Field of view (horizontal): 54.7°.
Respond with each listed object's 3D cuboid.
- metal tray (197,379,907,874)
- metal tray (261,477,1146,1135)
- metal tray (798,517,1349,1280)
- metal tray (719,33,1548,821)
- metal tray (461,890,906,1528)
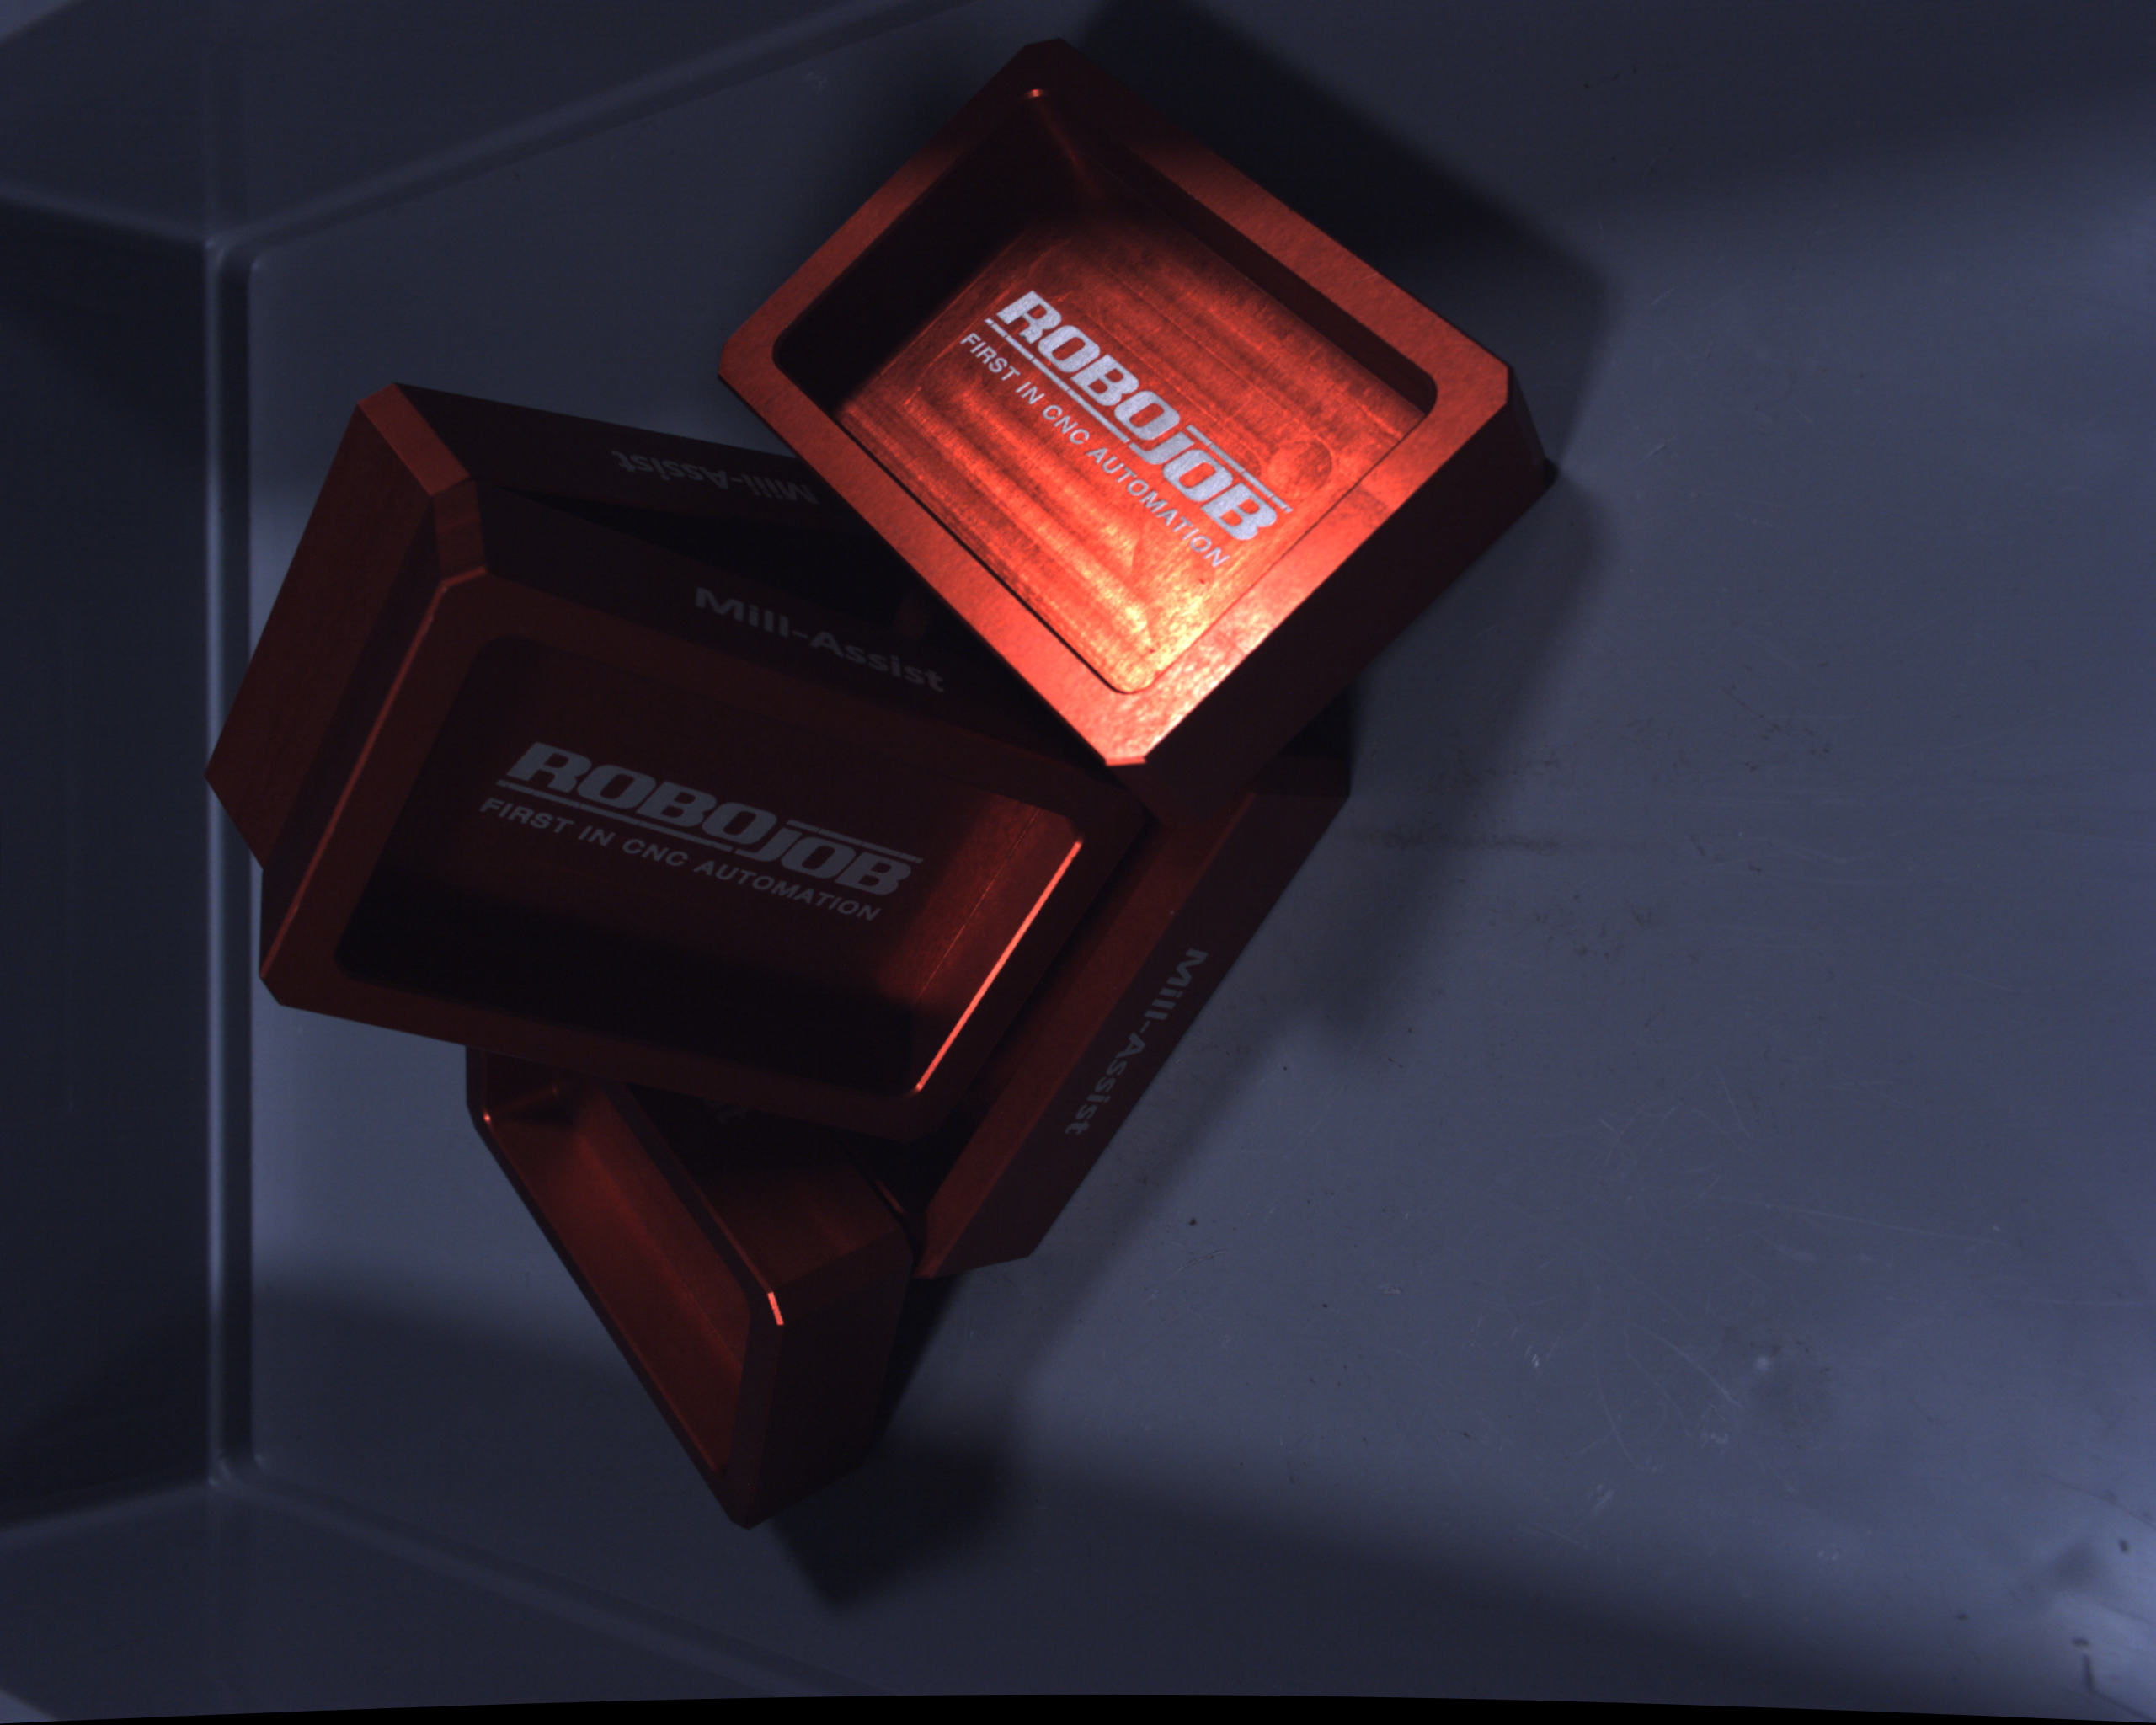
[{"bbox_3d":[-0.090,-0.038,0.407,0.030,0.131,0.089,48,119,30],"label":"metal tray"},{"bbox_3d":[-0.065,-0.004,0.372,0.089,0.131,0.030,-57,34,24],"label":"metal tray"},{"bbox_3d":[-0.016,0.006,0.412,0.090,0.030,0.129,46,117,29],"label":"metal tray"},{"bbox_3d":[0.006,-0.081,0.372,0.090,0.030,0.130,-44,60,2],"label":"metal tray"},{"bbox_3d":[-0.091,0.067,0.451,0.130,0.030,0.089,47,142,29],"label":"metal tray"}]
